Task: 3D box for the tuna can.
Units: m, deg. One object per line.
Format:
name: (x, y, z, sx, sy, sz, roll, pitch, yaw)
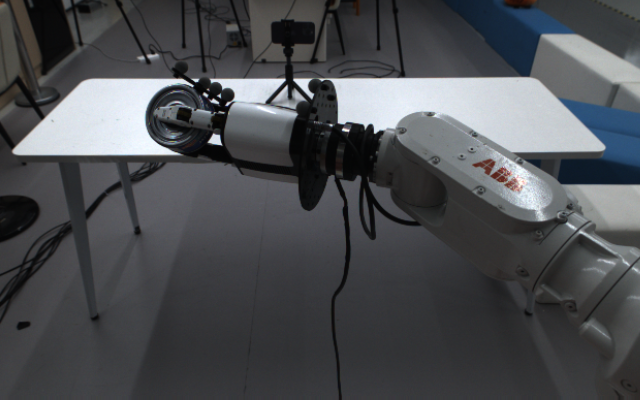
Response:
tuna can: (-0.181, -0.106, 0.630, 0.085, 0.085, 0.034, 12, -4, 14)
